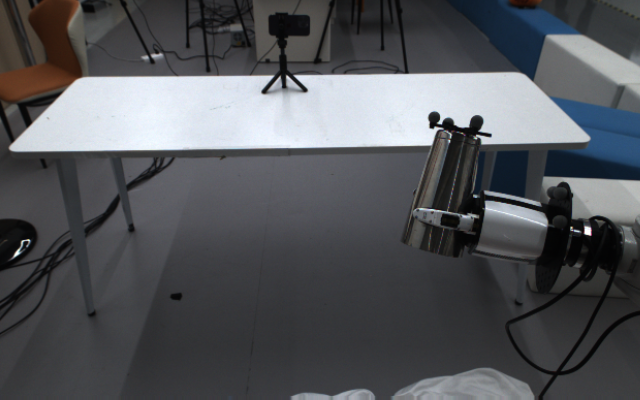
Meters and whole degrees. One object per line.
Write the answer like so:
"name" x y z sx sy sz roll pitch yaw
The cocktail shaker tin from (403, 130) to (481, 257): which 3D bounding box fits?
"cocktail shaker tin" 0.182 -0.011 0.708 0.093 0.170 0.093 13 4 -1
